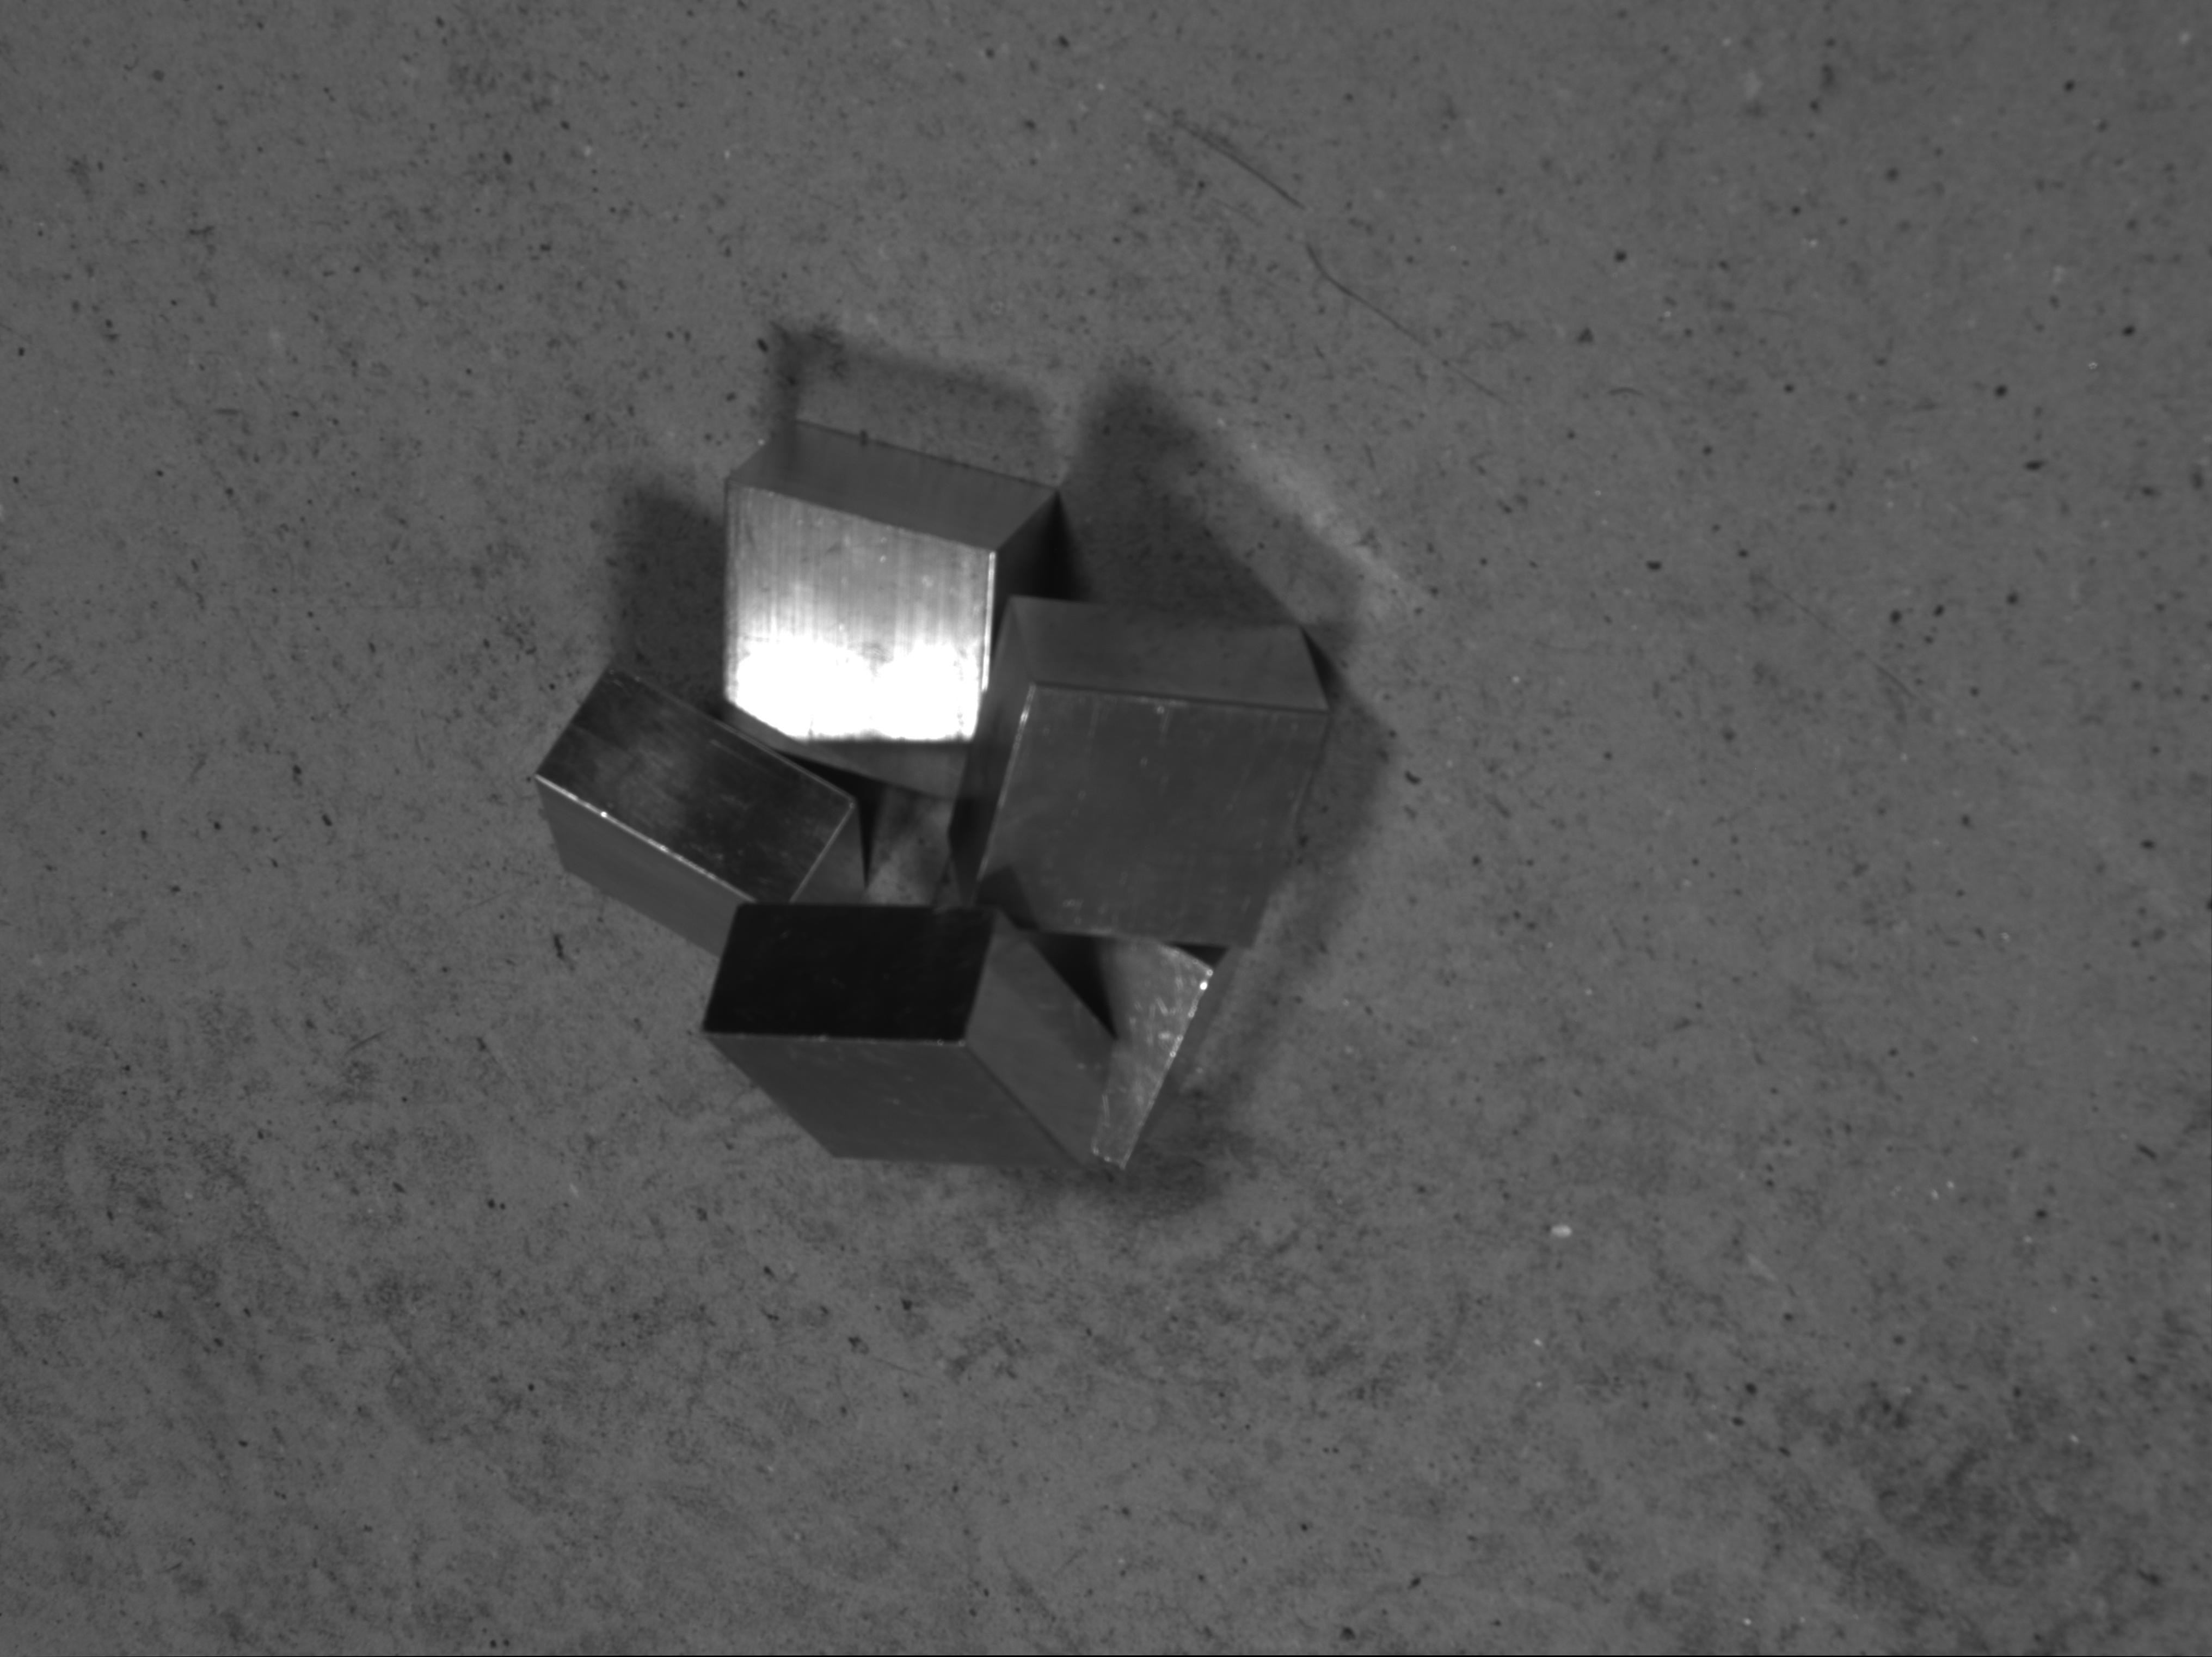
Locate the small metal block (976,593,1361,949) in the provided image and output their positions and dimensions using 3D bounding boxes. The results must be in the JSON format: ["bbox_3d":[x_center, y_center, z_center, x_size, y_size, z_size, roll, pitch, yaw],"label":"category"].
[{"bbox_3d":[0.009,-0.009,0.607,0.050,0.025,0.050,5,127,-15],"label":"small metal block"}]

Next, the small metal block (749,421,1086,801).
[{"bbox_3d":[-0.033,-0.037,0.626,0.050,0.025,0.050,16,124,18],"label":"small metal block"}]

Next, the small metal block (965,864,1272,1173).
[{"bbox_3d":[-0.001,0.025,0.647,0.050,0.025,0.050,29,127,9],"label":"small metal block"}]

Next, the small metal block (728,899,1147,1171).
[{"bbox_3d":[-0.028,0.035,0.620,0.050,0.025,0.050,0,151,27],"label":"small metal block"}]

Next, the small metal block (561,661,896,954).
[{"bbox_3d":[-0.066,0.001,0.650,0.050,0.025,0.050,29,163,8],"label":"small metal block"}]
